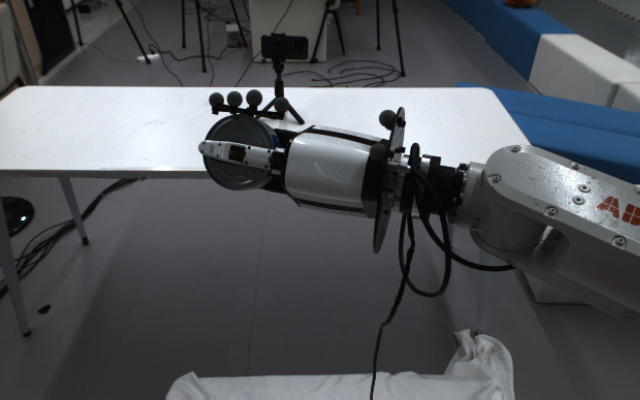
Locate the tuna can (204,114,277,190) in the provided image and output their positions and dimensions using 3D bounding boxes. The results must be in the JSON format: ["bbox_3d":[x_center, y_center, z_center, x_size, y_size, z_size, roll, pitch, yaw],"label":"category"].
[{"bbox_3d":[-0.087,-0.054,0.557,0.085,0.085,0.034,11,3,13],"label":"tuna can"}]
